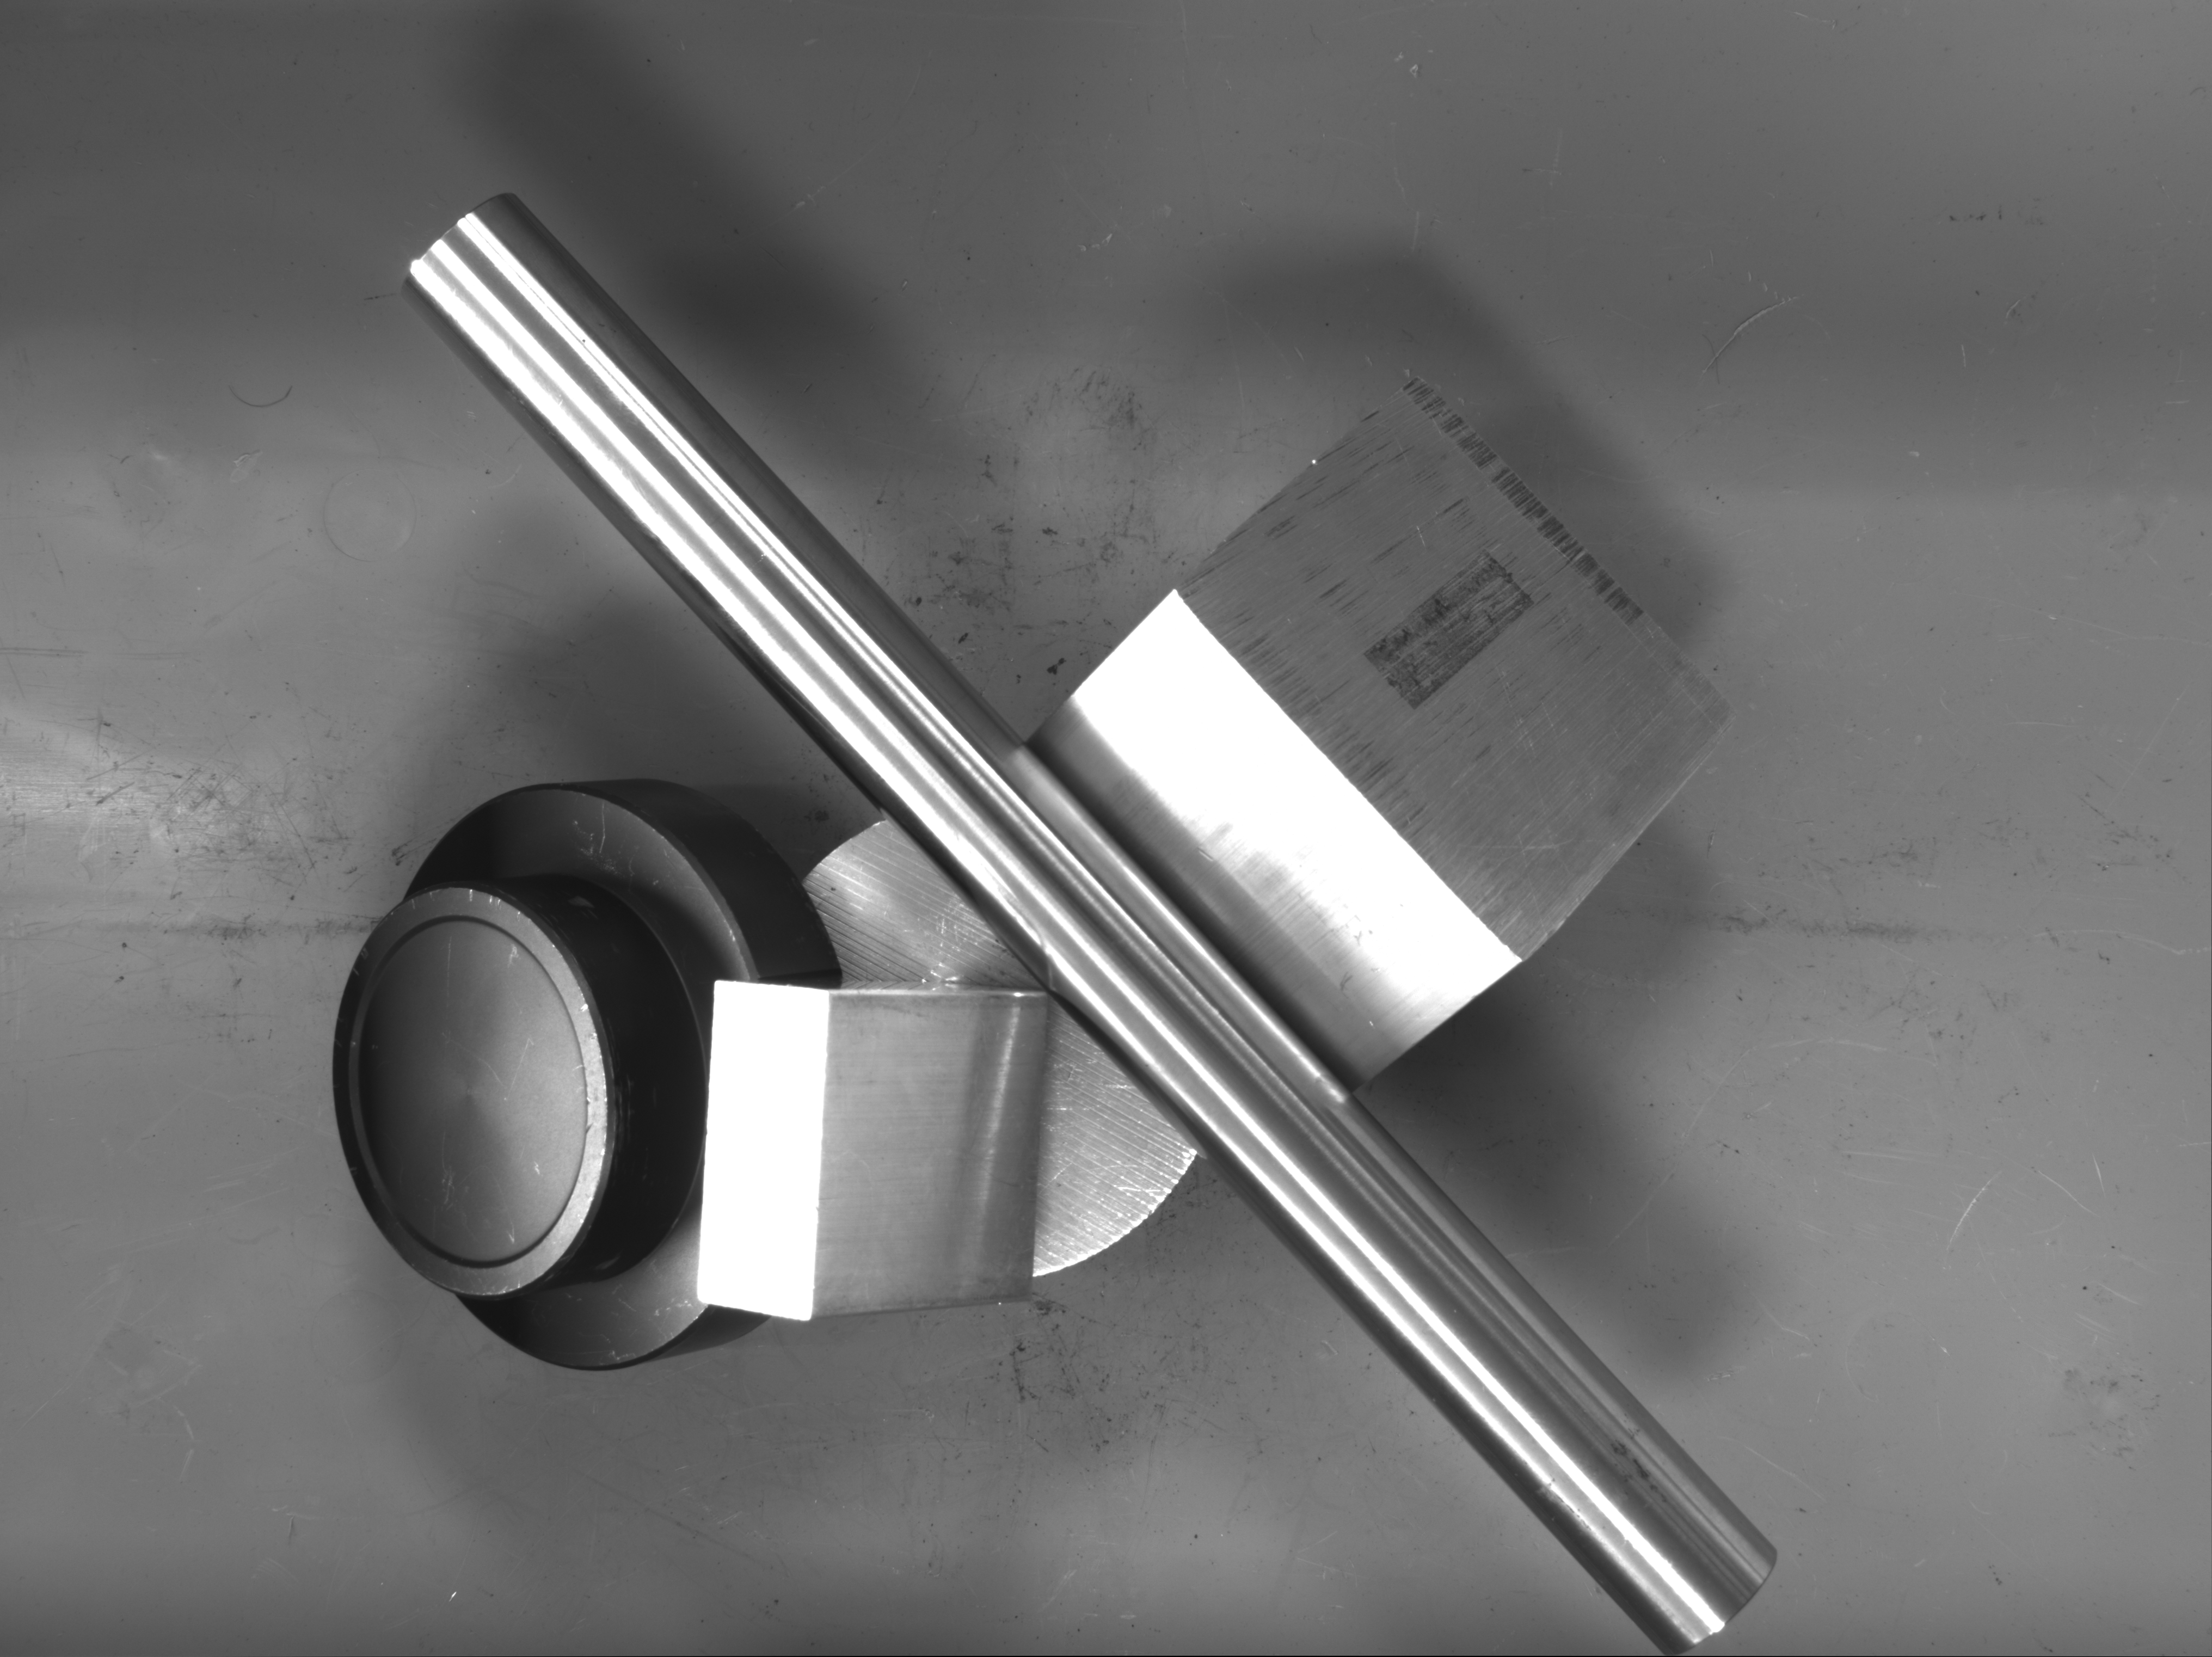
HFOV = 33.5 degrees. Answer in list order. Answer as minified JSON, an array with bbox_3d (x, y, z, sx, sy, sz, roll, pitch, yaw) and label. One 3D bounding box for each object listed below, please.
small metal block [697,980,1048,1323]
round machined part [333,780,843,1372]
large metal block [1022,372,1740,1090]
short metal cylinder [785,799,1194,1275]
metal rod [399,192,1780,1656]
[{"bbox_3d":[-0.036,0.050,0.580,0.025,0.050,0.050,3,90,40],"label":"small metal block"},{"bbox_3d":[-0.090,0.042,0.610,0.098,0.042,0.098,3,95,38],"label":"round machined part"},{"bbox_3d":[0.046,-0.016,0.611,0.080,0.050,0.080,46,47,0],"label":"large metal block"},{"bbox_3d":[-0.020,0.035,0.632,0.080,0.050,0.080,0,90,0],"label":"short metal cylinder"},{"bbox_3d":[-0.003,0.015,0.594,0.025,0.025,0.300,-43,90,0],"label":"metal rod"}]
